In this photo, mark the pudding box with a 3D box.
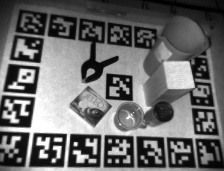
[{"bbox_3d":[-0.068,0.058,0.741,0.113,0.038,0.090,39,71,5],"label":"pudding box"}]

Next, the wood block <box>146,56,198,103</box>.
[{"bbox_3d":[0.196,-0.012,0.726,0.090,0.205,0.090,2,70,-13],"label":"wood block"}]

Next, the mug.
[{"bbox_3d":[0.075,0.105,0.729,0.117,0.081,0.093,37,66,5],"label":"mug"}]

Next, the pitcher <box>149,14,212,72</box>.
[{"bbox_3d":[0.225,-0.129,0.757,0.189,0.242,0.133,2,68,-7],"label":"pitcher"}]

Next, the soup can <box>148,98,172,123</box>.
[{"bbox_3d":[0.169,0.089,0.741,0.068,0.102,0.068,3,72,-9],"label":"soup can"}]

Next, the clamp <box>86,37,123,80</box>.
[{"bbox_3d":[-0.045,-0.090,0.804,0.122,0.036,0.165,34,68,-6],"label":"clamp"}]
